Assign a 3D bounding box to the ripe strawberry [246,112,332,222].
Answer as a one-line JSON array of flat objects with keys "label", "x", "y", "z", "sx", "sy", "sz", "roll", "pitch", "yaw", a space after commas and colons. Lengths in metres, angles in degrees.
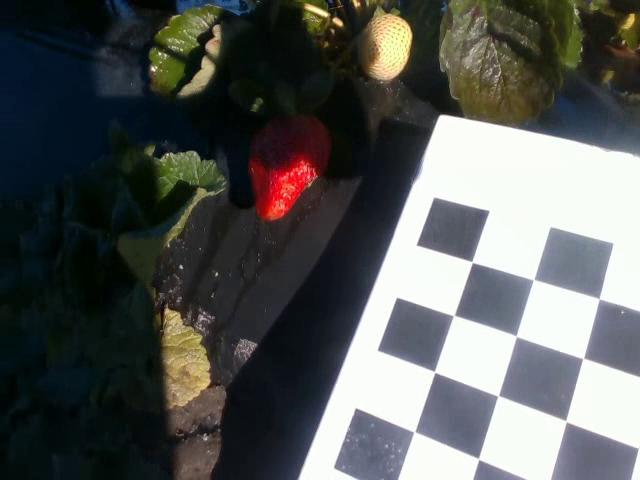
[{"label": "ripe strawberry", "x": -0.017, "y": -0.034, "z": 0.282, "sx": 0.048, "sy": 0.069, "sz": 0.040, "roll": -1, "pitch": -29, "yaw": 15}]
